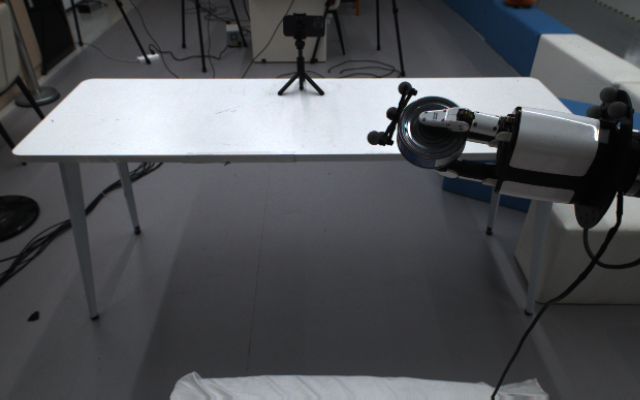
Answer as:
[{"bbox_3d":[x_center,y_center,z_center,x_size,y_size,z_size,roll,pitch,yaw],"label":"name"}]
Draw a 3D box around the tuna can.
[{"bbox_3d":[0.140,-0.086,0.598,0.085,0.034,0.085,-2,71,5],"label":"tuna can"}]
